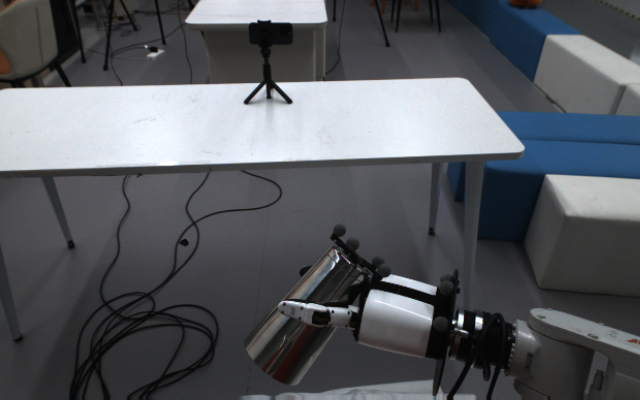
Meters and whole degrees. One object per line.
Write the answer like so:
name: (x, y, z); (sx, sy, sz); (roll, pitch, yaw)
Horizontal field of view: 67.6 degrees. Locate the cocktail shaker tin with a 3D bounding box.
cocktail shaker tin: (-0.009, 0.143, 0.638); (0.170, 0.093, 0.093); (-50, 47, 3)
